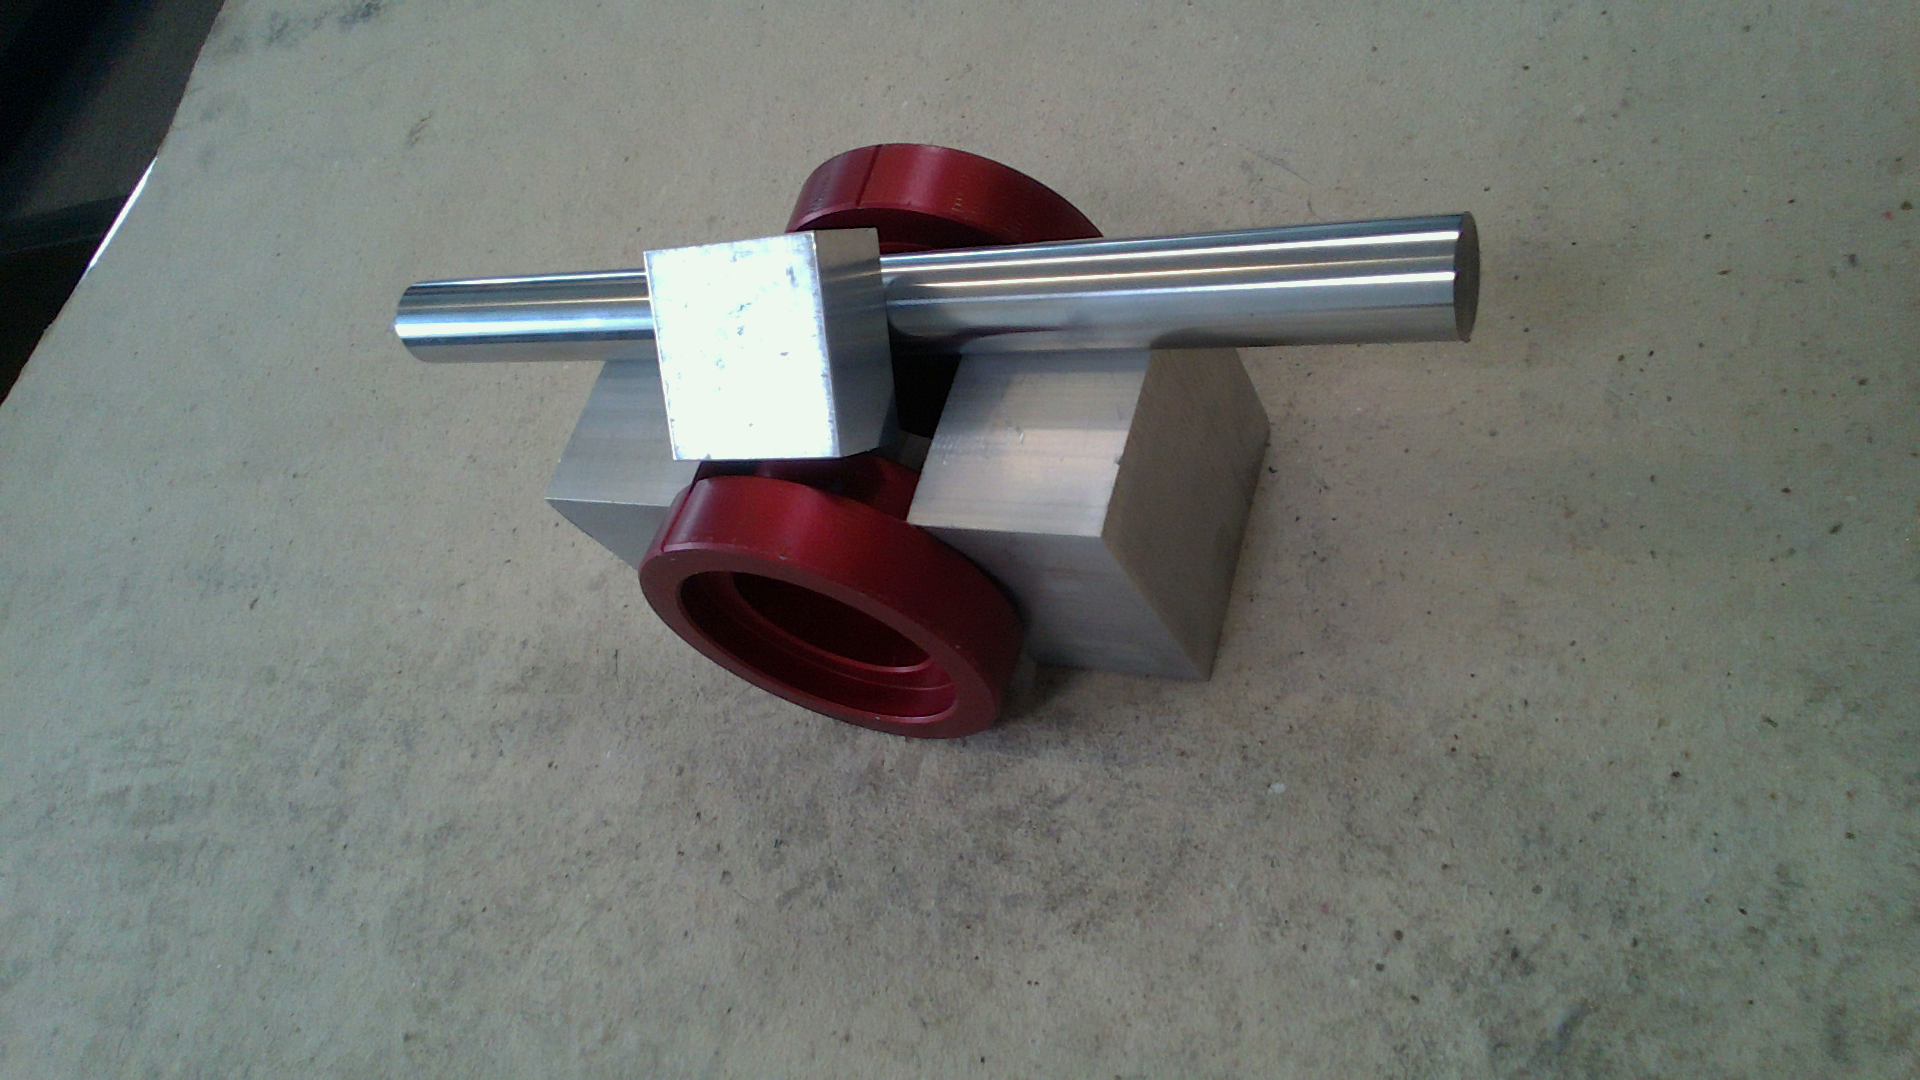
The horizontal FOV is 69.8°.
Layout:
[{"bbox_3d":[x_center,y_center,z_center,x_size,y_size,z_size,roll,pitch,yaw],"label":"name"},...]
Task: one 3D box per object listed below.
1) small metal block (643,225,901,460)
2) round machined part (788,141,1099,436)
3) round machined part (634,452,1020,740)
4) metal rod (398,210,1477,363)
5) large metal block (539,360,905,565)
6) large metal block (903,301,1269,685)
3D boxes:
[{"bbox_3d":[-0.044,-0.046,0.325,0.050,0.025,0.050,1,102,31],"label":"small metal block"},{"bbox_3d":[-0.006,-0.063,0.389,0.098,0.098,0.042,4,64,30],"label":"round machined part"},{"bbox_3d":[-0.030,0.011,0.356,0.098,0.098,0.042,5,59,31],"label":"round machined part"},{"bbox_3d":[-0.031,-0.059,0.343,0.299,0.025,0.025,3,63,30],"label":"metal rod"},{"bbox_3d":[-0.065,-0.026,0.409,0.050,0.080,0.080,4,64,31],"label":"large metal block"},{"bbox_3d":[0.037,-0.018,0.350,0.050,0.080,0.080,4,63,30],"label":"large metal block"}]
